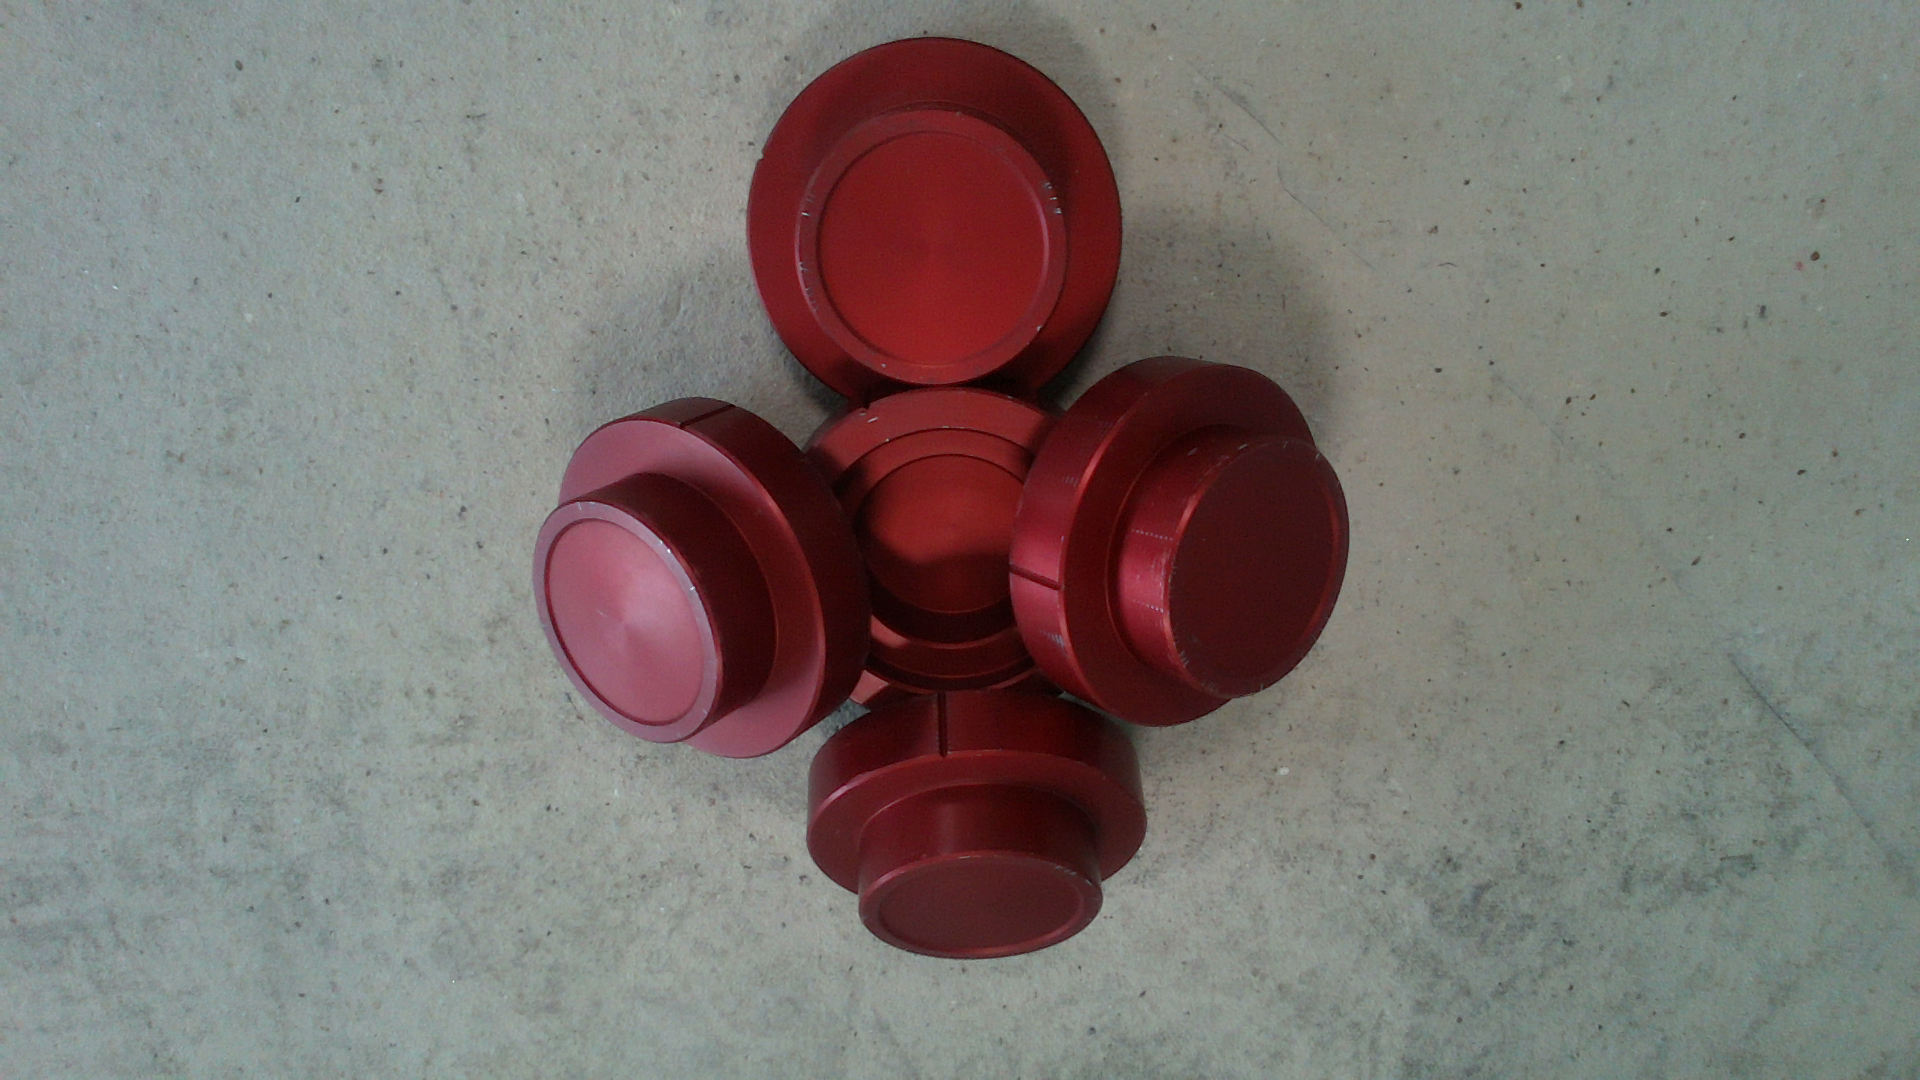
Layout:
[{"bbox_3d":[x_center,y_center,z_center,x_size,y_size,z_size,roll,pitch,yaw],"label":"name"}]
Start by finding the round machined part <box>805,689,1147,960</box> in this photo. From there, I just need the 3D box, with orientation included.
[{"bbox_3d":[0.005,0.087,0.394,0.098,0.042,0.098,-2,140,-1],"label":"round machined part"}]

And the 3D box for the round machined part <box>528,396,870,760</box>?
[{"bbox_3d":[-0.075,0.015,0.365,0.098,0.042,0.098,15,119,30],"label":"round machined part"}]

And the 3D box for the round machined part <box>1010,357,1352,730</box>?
[{"bbox_3d":[0.064,0.003,0.359,0.098,0.042,0.098,-12,110,-34],"label":"round machined part"}]

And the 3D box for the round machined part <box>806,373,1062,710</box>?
[{"bbox_3d":[-0.002,0.000,0.385,0.098,0.042,0.098,1,109,2],"label":"round machined part"}]

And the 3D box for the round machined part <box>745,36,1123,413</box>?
[{"bbox_3d":[-0.007,-0.078,0.356,0.098,0.042,0.098,0,109,0],"label":"round machined part"}]
